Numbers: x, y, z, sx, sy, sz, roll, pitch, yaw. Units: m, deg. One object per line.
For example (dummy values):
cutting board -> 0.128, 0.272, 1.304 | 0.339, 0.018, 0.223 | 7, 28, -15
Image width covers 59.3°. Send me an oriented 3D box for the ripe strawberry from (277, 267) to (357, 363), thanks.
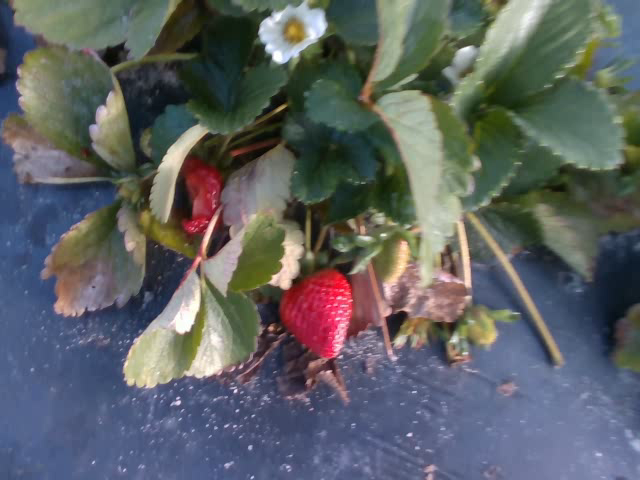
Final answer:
ripe strawberry -> -0.001, 0.028, 0.193 | 0.031, 0.030, 0.026 | -17, -19, -2
